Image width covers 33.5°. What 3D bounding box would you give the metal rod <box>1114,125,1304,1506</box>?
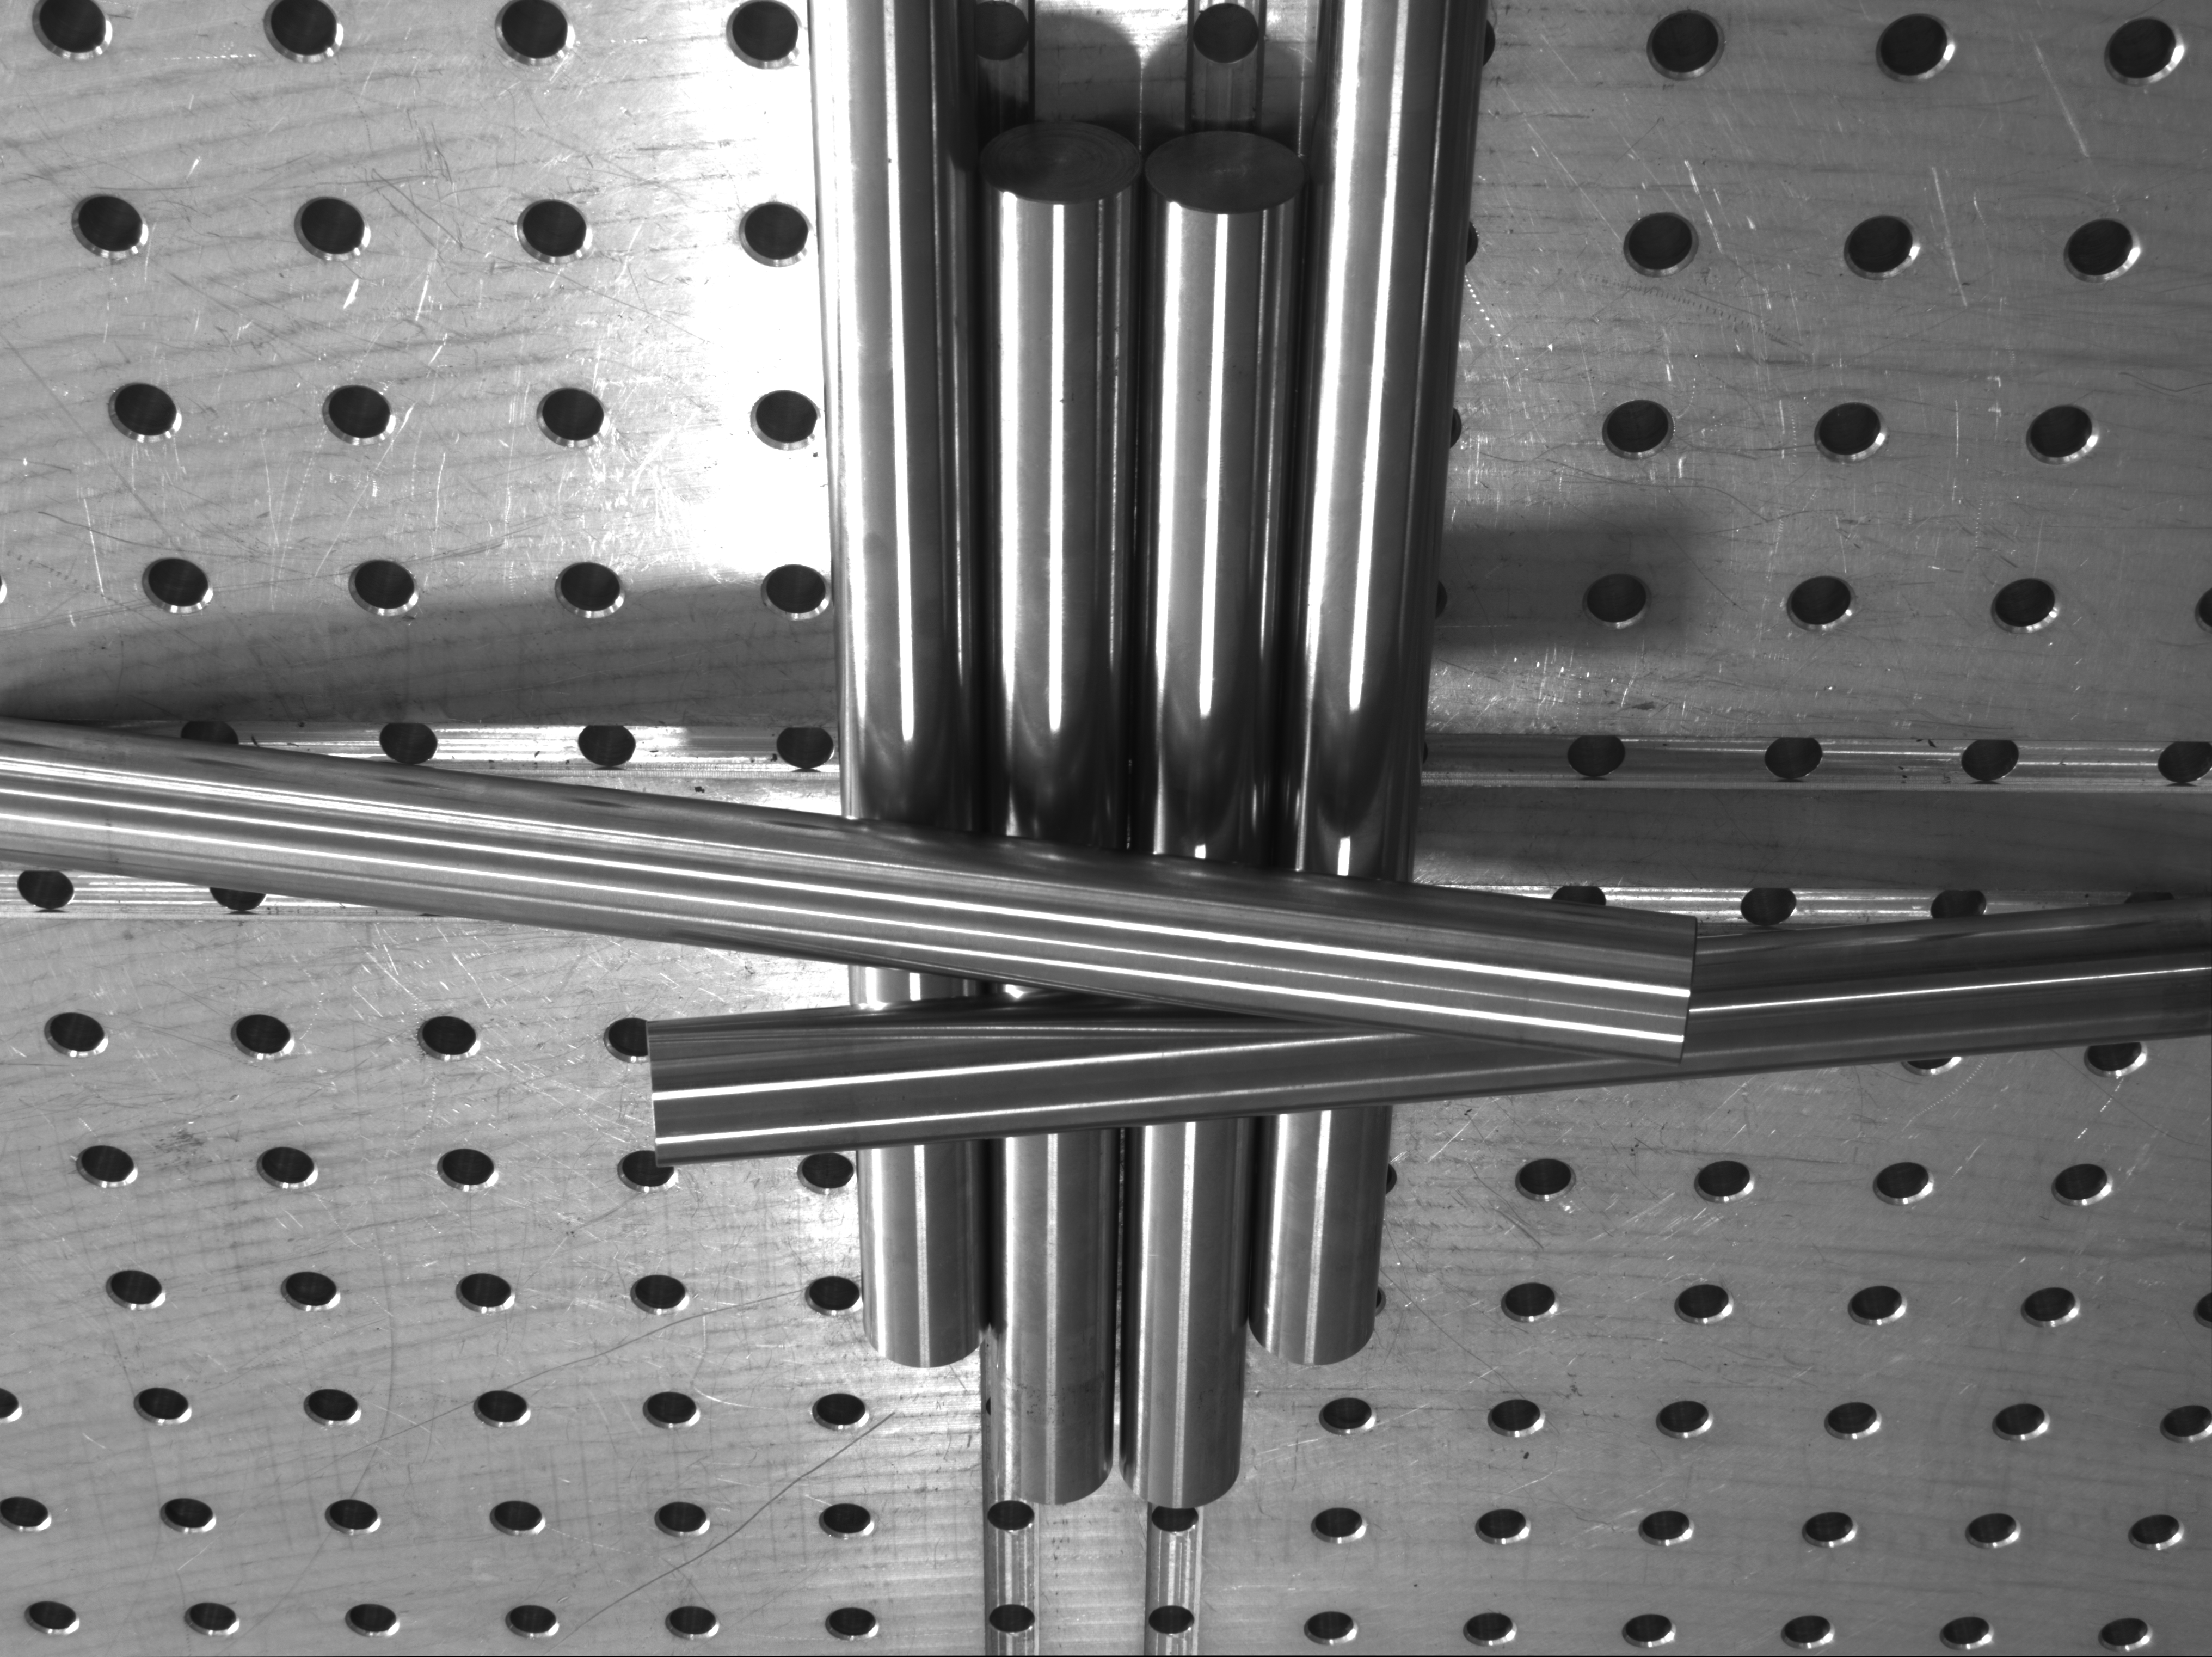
[{"bbox_3d":[0.016,0.014,0.656,0.025,0.025,0.300,1,130,0],"label":"metal rod"}]

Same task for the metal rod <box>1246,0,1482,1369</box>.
[{"bbox_3d":[0.041,-0.018,0.627,0.025,0.025,0.300,1,130,0],"label":"metal rod"}]

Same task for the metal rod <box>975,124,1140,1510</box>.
[{"bbox_3d":[-0.010,0.014,0.653,0.025,0.025,0.300,1,130,-1],"label":"metal rod"}]

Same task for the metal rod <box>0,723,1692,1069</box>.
[{"bbox_3d":[-0.053,0.010,0.621,0.300,0.025,0.025,7,130,6],"label":"metal rod"}]

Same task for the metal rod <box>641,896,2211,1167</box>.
[{"bbox_3d":[0.070,0.034,0.645,0.300,0.025,0.025,-4,130,-8],"label":"metal rod"}]

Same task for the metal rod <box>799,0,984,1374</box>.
[{"bbox_3d":[-0.034,-0.017,0.628,0.025,0.025,0.300,1,130,0],"label":"metal rod"}]
